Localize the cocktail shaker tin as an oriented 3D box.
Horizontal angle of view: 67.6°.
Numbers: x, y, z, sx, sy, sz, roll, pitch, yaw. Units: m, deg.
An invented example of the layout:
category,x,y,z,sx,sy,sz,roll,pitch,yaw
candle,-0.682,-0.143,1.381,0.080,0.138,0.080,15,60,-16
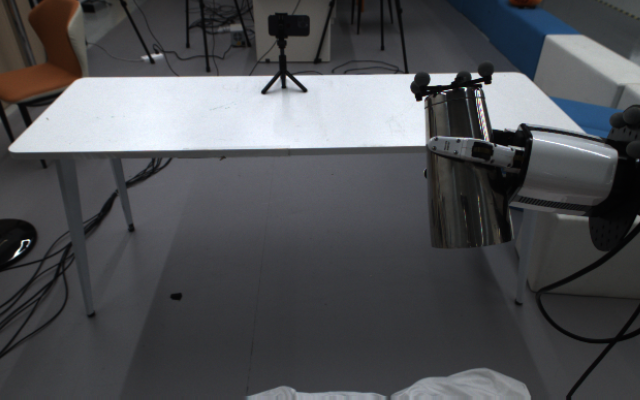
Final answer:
category,x,y,z,sx,sy,sz,roll,pitch,yaw
cocktail shaker tin,0.164,-0.037,0.553,0.093,0.170,0.093,-8,1,0
